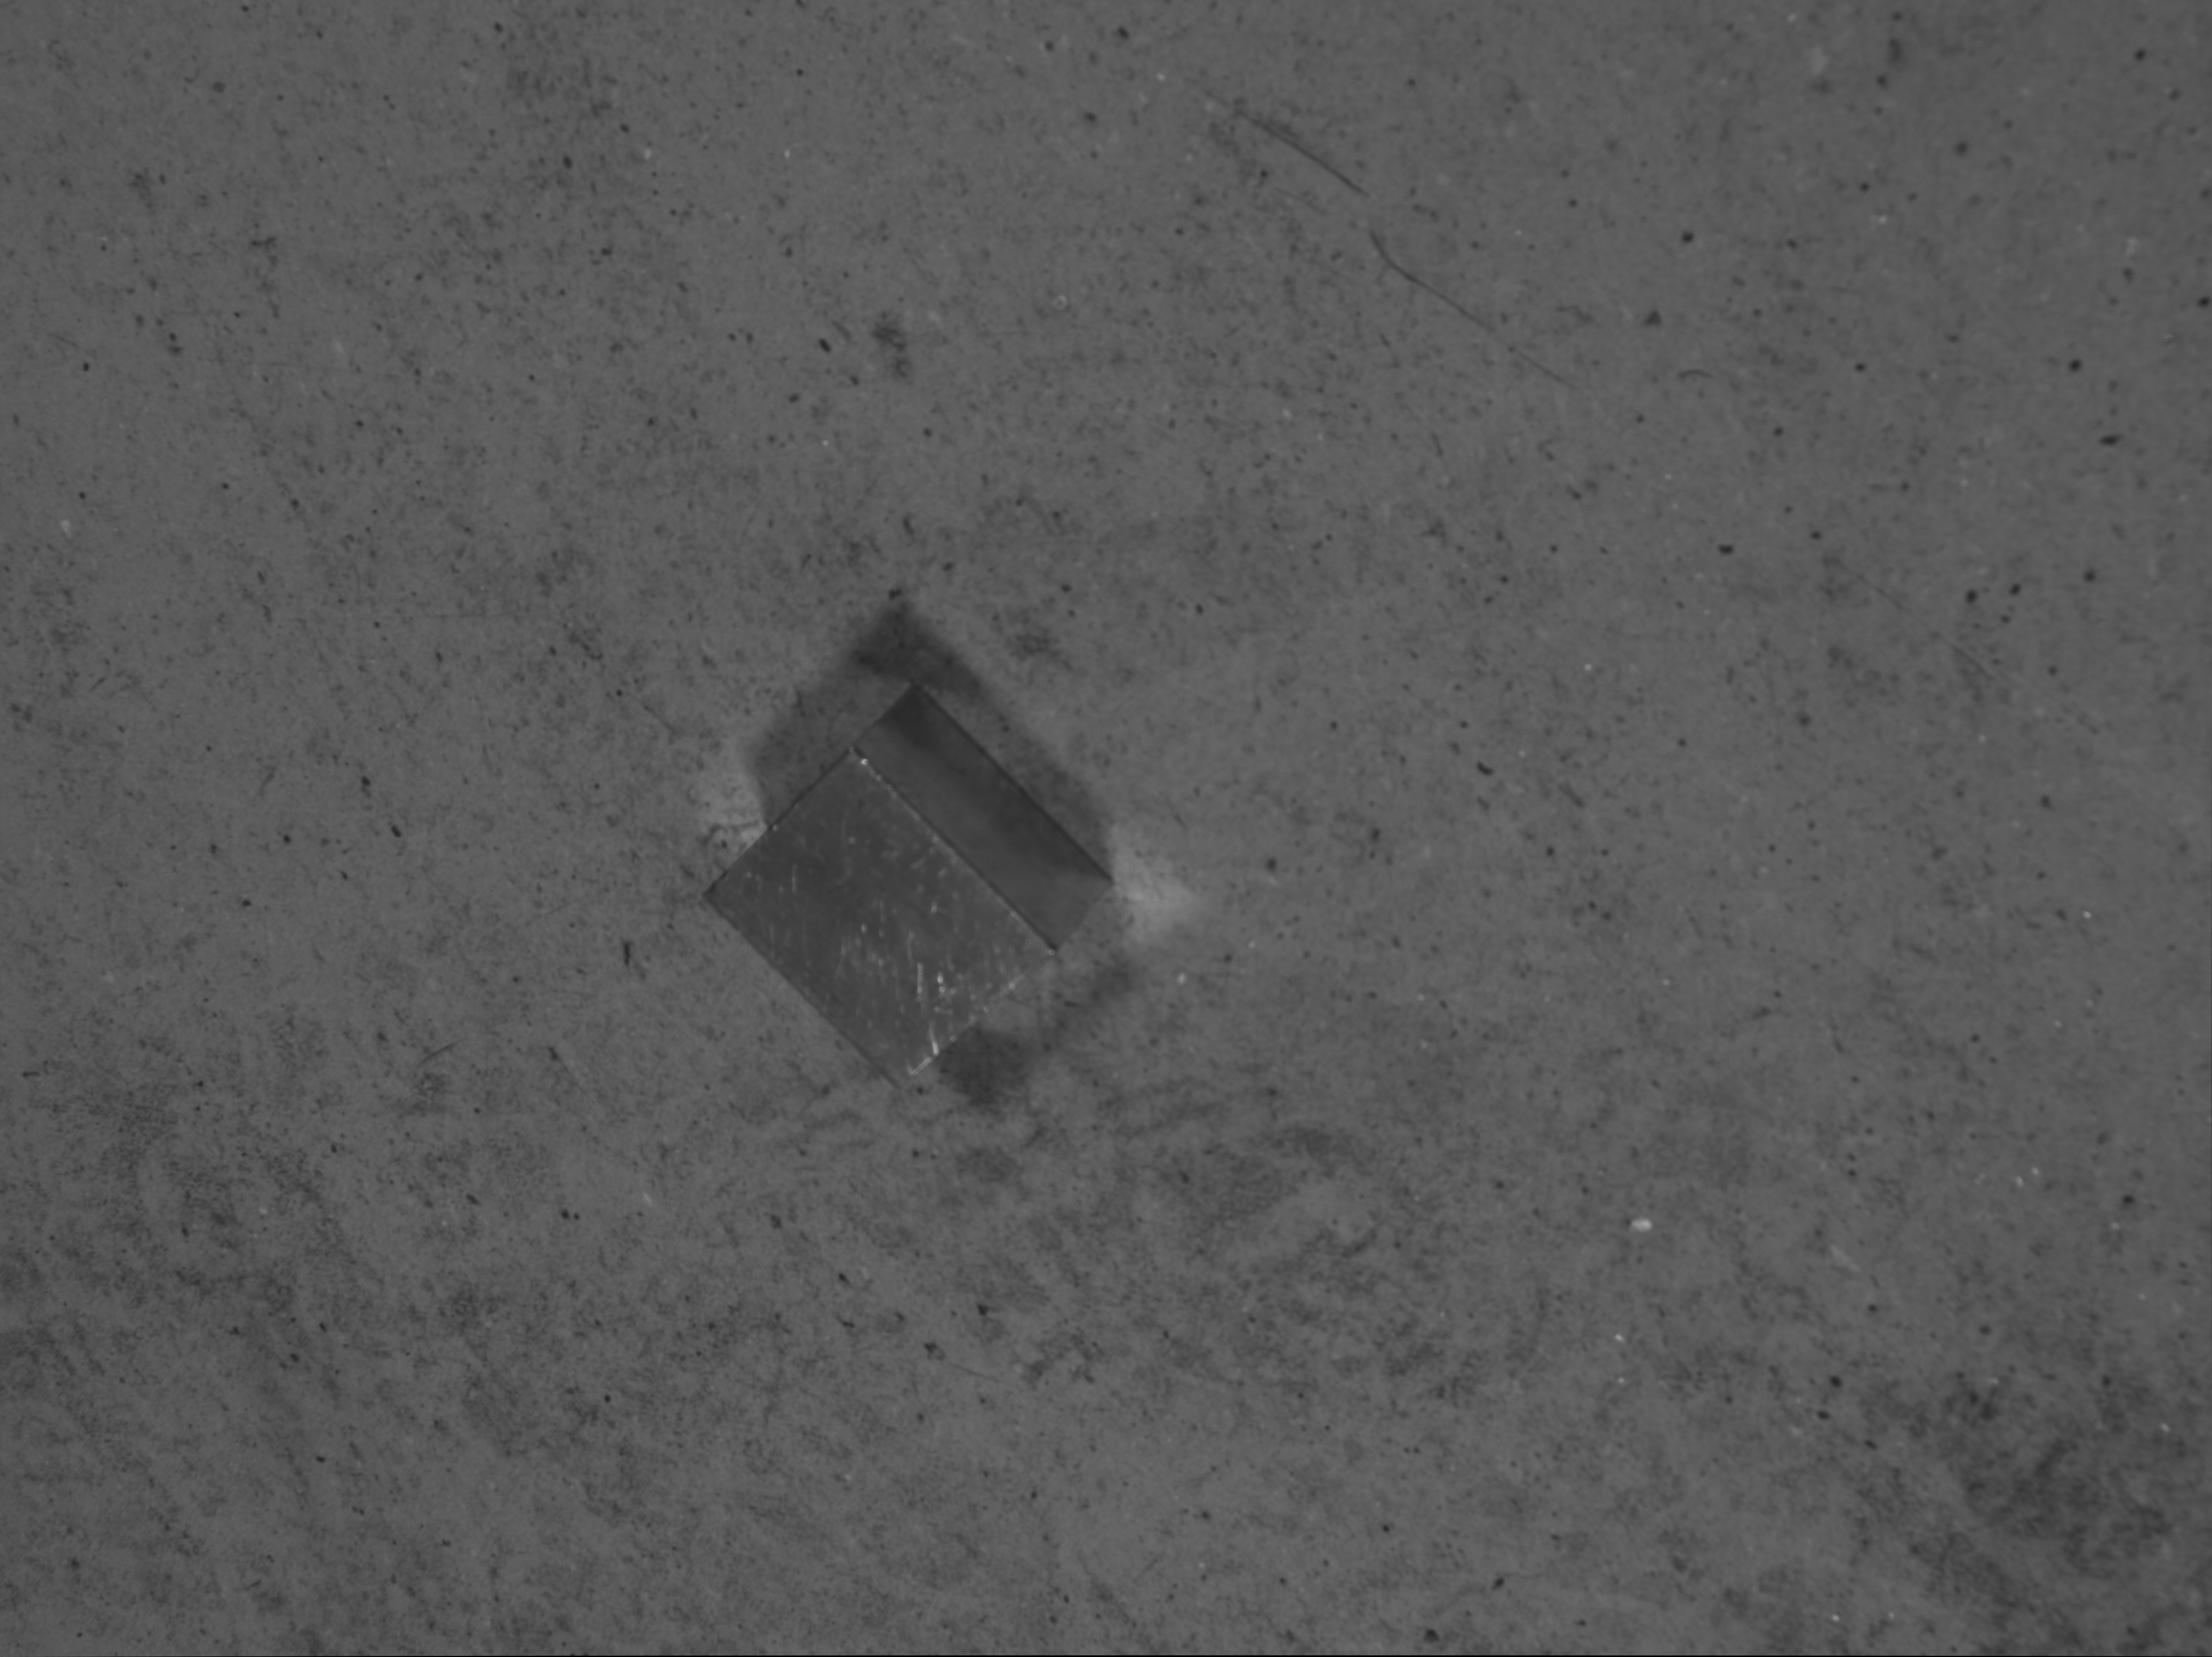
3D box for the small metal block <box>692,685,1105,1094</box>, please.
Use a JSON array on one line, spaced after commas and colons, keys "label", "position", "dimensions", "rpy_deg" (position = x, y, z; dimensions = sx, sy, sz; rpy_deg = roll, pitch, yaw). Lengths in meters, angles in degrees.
[{"label": "small metal block", "position": [-0.038, 0.011, 0.657], "dimensions": [0.050, 0.025, 0.050], "rpy_deg": [45, 128, -4]}]
